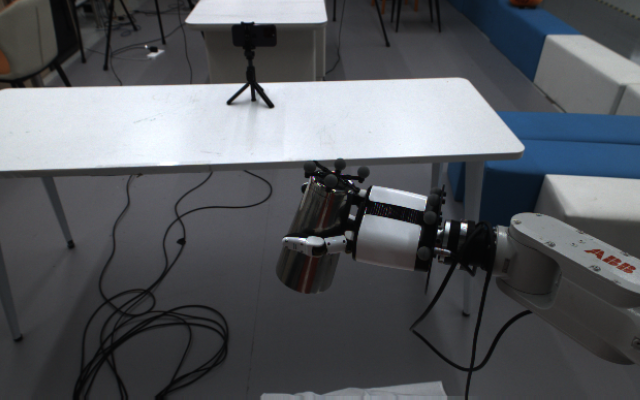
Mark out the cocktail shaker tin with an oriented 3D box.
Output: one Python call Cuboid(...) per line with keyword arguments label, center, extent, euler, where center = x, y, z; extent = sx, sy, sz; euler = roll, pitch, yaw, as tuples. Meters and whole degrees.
Cuboid(label="cocktail shaker tin", center=(-0.001, 0.042, 0.716), extent=(0.093, 0.170, 0.093), euler=(12, 29, -7))
